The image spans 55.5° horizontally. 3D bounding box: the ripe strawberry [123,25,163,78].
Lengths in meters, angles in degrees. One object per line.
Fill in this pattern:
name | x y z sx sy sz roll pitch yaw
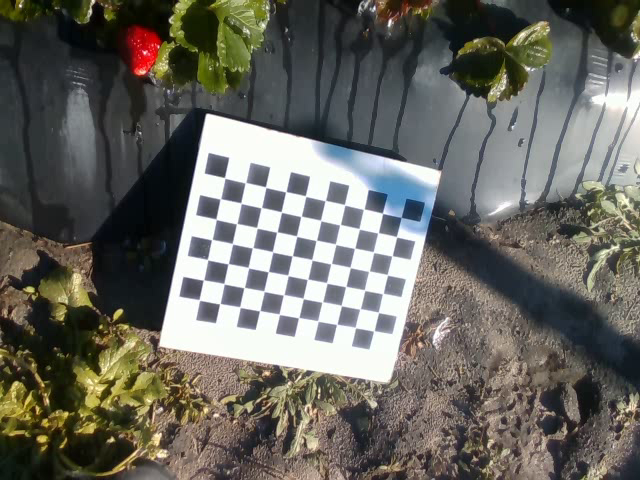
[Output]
ripe strawberry | -0.153 -0.158 0.512 0.041 0.053 0.047 5 -31 -11
